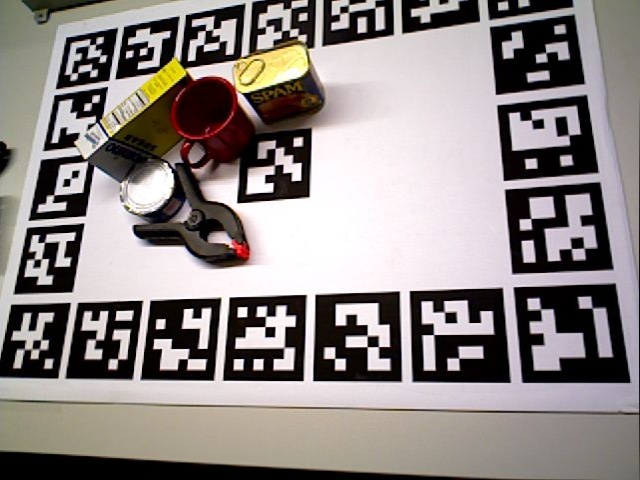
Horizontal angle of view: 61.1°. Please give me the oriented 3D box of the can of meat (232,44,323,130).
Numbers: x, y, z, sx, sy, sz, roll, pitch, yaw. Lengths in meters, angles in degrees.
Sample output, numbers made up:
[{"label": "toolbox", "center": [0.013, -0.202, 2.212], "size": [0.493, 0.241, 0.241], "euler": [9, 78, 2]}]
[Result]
[{"label": "can of meat", "center": [-0.051, -0.193, 0.702], "size": [0.102, 0.084, 0.057], "euler": [-11, 68, 10]}]

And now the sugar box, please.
[{"label": "sugar box", "center": [-0.239, -0.148, 0.737], "size": [0.176, 0.093, 0.045], "euler": [-39, 65, 0]}]

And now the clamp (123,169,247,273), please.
[{"label": "clamp", "center": [-0.163, -0.009, 0.704], "size": [0.165, 0.037, 0.121], "euler": [33, 80, 18]}]

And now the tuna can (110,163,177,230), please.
[{"label": "tuna can", "center": [-0.238, -0.058, 0.735], "size": [0.086, 0.034, 0.085], "euler": [-5, 74, 15]}]

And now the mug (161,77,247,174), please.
[{"label": "mug", "center": [-0.151, -0.141, 0.706], "size": [0.093, 0.081, 0.117], "euler": [22, 82, 20]}]
